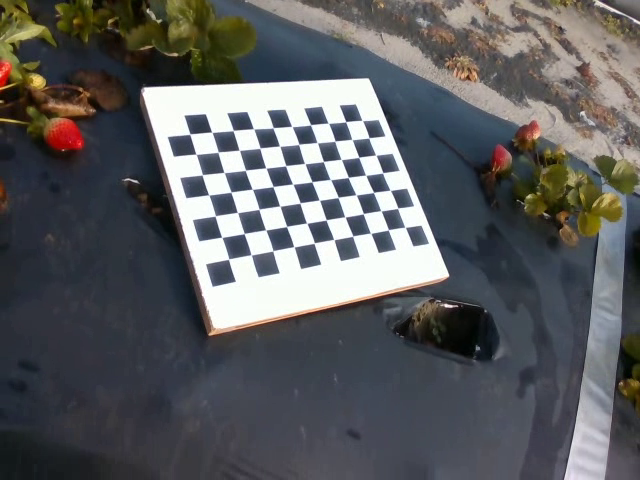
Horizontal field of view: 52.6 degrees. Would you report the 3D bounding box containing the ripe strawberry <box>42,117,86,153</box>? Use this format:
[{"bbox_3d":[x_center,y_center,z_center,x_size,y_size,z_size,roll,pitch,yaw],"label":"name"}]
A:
[{"bbox_3d":[-0.240,-0.097,0.604,0.043,0.035,0.030,37,-34,1],"label":"ripe strawberry"}]
